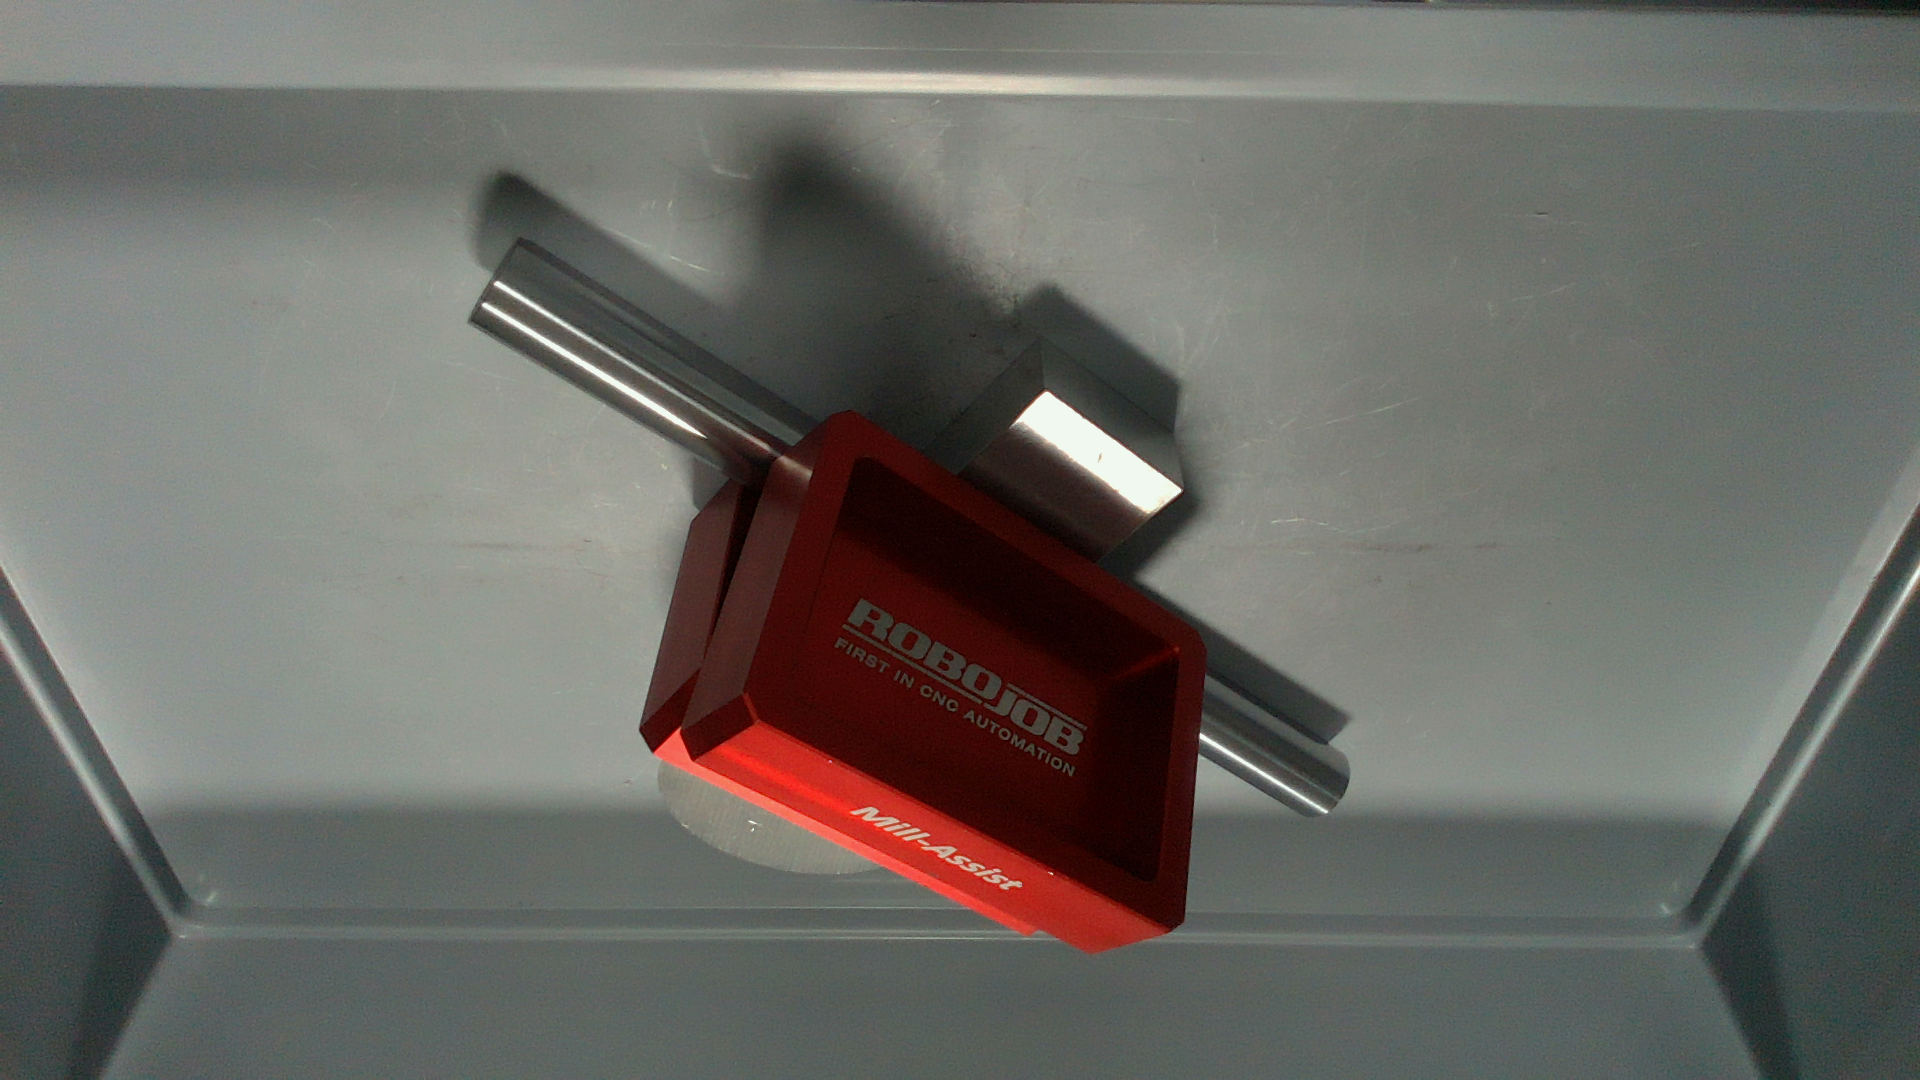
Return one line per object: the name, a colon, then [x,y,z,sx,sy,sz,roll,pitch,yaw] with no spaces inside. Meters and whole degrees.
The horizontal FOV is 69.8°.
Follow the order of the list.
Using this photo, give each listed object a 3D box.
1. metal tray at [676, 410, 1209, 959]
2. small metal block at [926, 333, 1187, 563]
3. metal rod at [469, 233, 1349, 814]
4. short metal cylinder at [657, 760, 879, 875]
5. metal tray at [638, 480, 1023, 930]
metal tray: [0.003,0.038,0.345,0.130,0.090,0.030,32,140,-24]
small metal block: [0.024,-0.019,0.373,0.050,0.025,0.050,33,123,-25]
metal rod: [0.003,0.008,0.397,0.301,0.025,0.025,32,123,-24]
short metal cylinder: [-0.045,0.058,0.414,0.080,0.050,0.080,4,137,4]
metal tray: [-0.019,0.043,0.383,0.130,0.090,0.030,32,123,-24]
